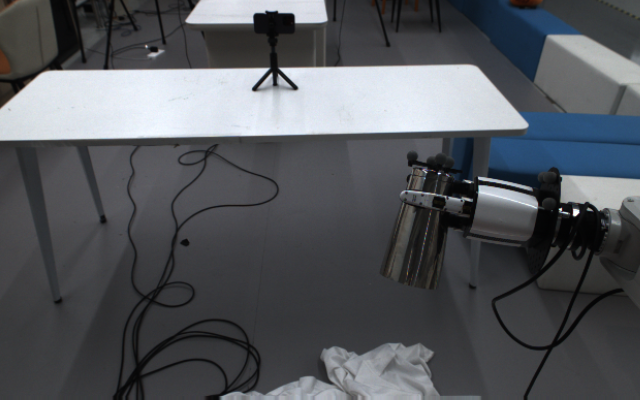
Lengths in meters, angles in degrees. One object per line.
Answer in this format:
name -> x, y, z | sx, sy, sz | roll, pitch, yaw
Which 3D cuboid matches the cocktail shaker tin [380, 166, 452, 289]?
cocktail shaker tin -> 0.157, 0.037, 0.744 | 0.093, 0.170, 0.093 | 12, 3, -1
